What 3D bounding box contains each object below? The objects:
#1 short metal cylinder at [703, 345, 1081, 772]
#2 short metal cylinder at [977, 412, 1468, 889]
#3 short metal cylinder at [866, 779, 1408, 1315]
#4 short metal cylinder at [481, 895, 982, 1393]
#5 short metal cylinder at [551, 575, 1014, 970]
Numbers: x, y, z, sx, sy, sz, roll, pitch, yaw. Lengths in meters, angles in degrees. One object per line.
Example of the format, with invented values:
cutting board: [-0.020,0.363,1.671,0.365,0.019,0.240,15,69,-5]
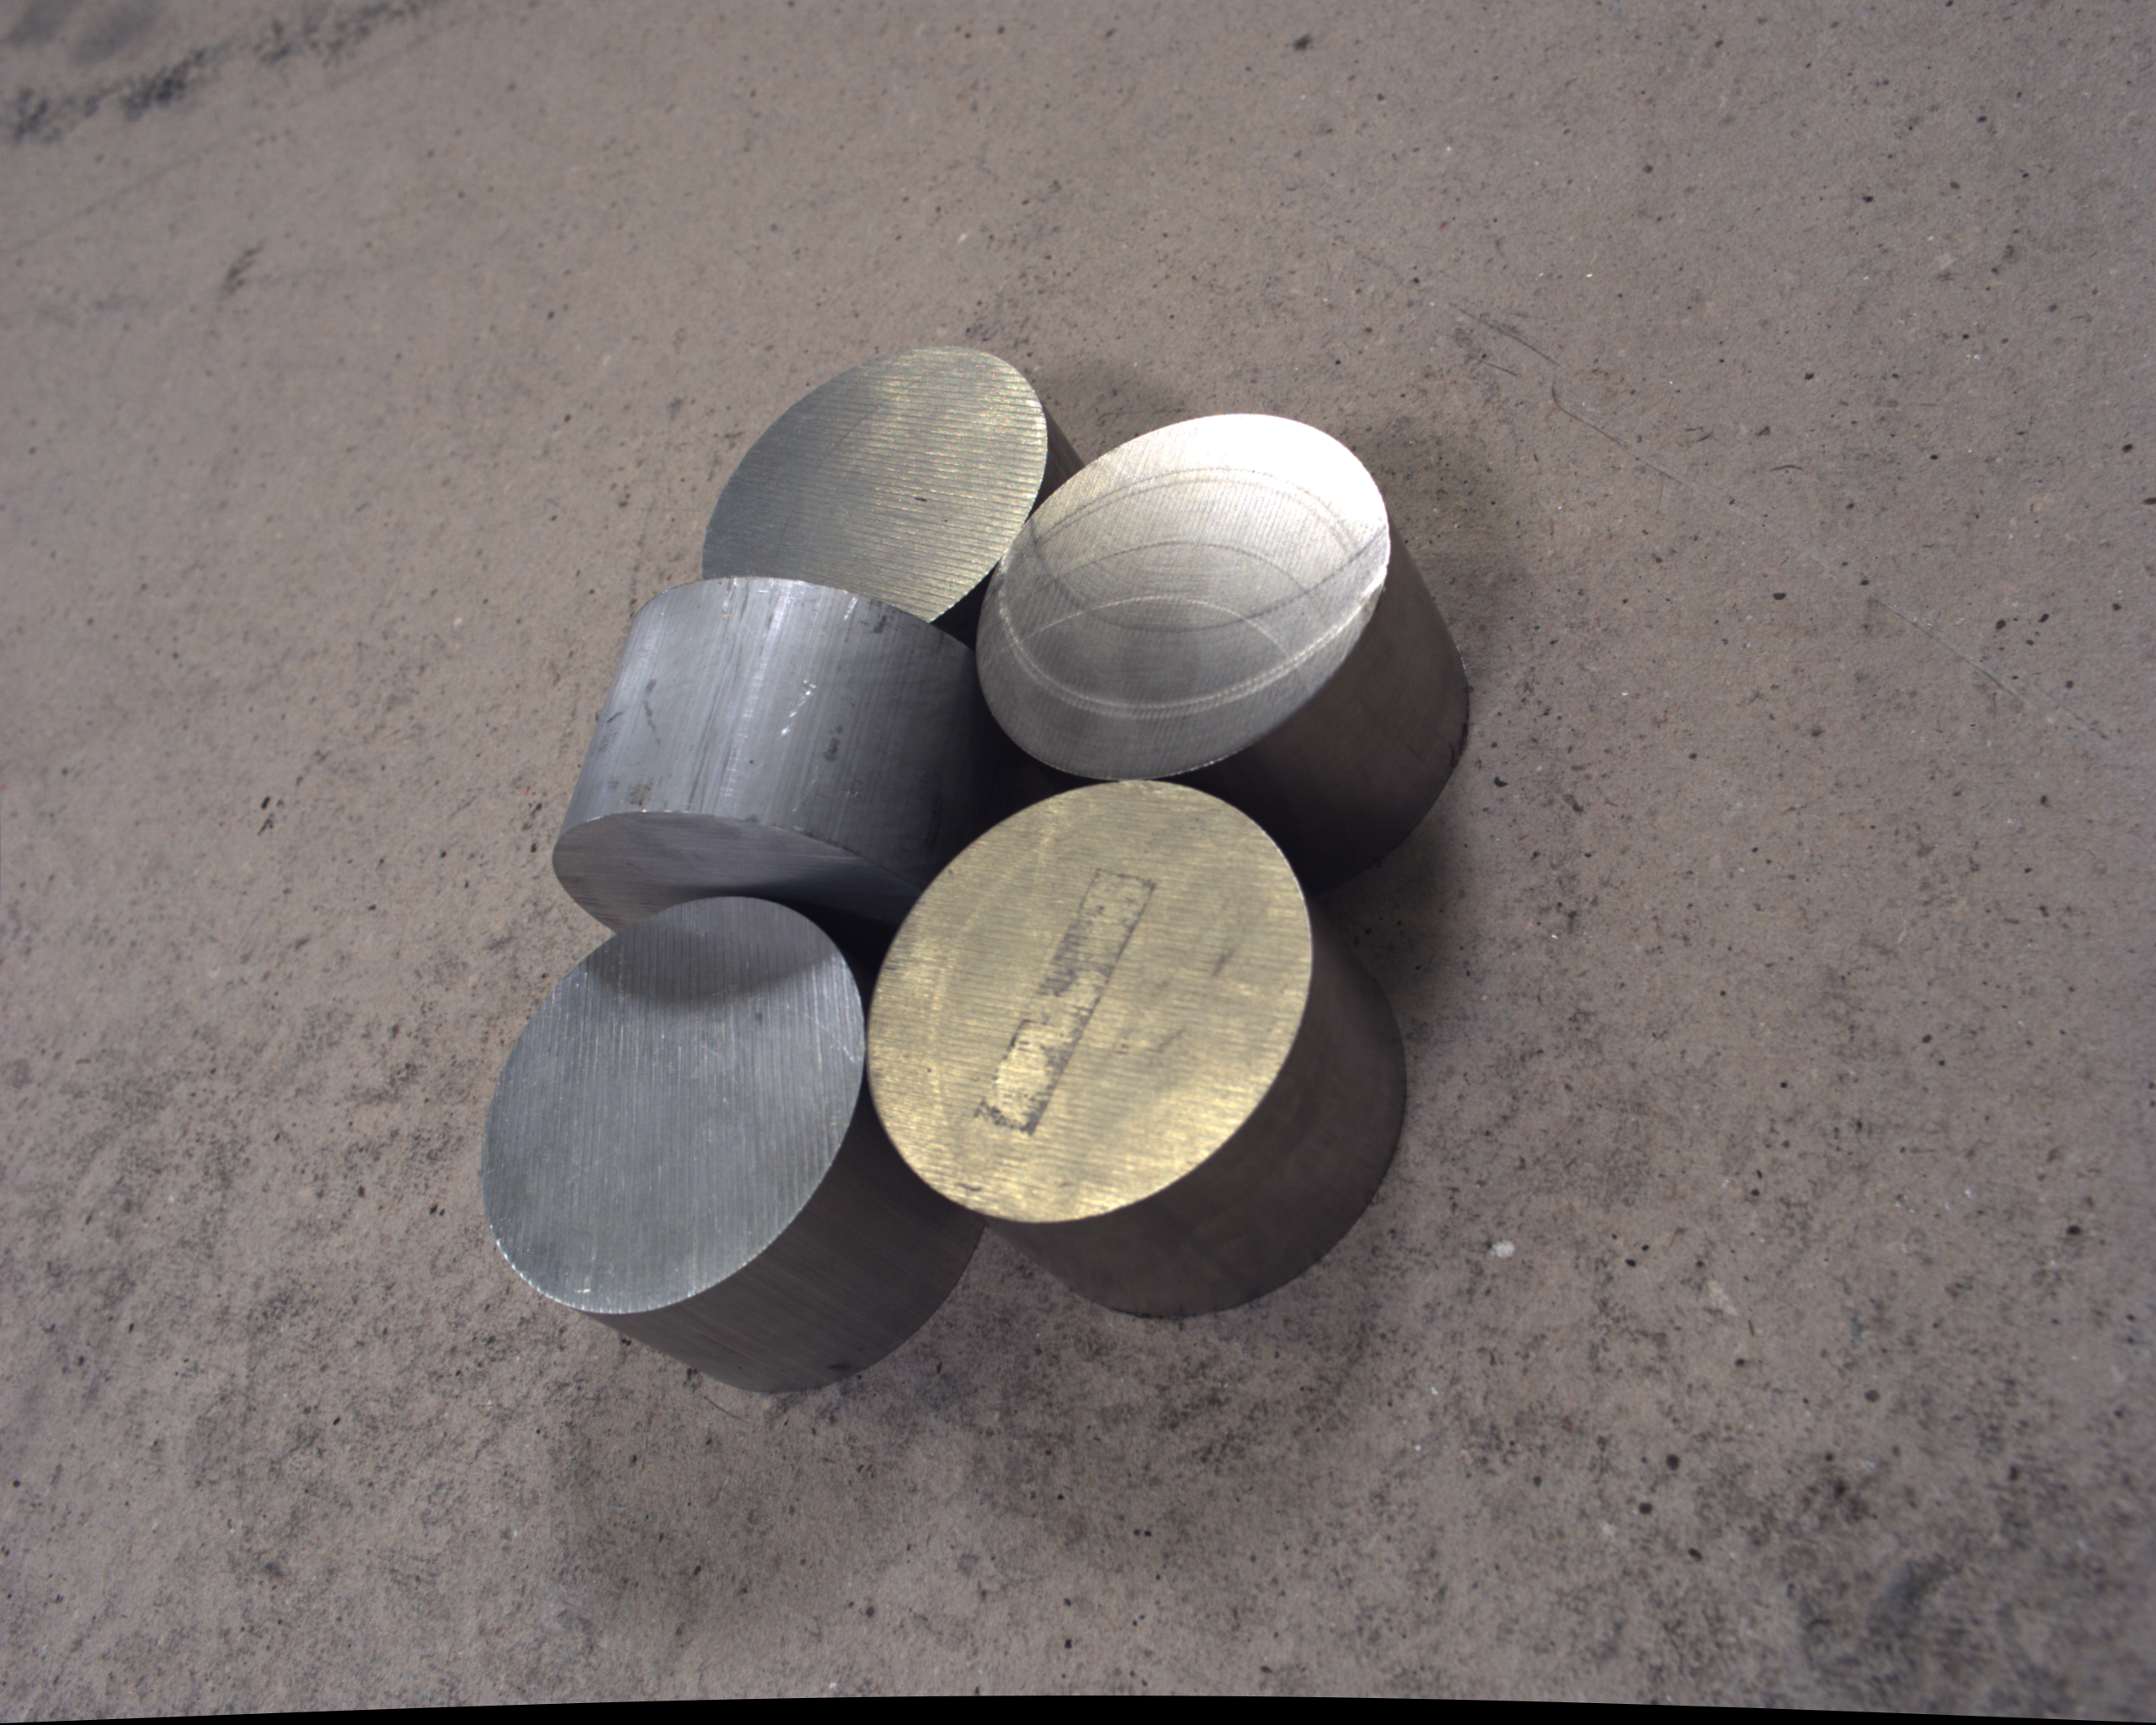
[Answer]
short metal cylinder: [-0.032,-0.062,0.444,0.080,0.050,0.080,-14,56,21]
short metal cylinder: [0.028,-0.038,0.397,0.080,0.050,0.080,-13,57,21]
short metal cylinder: [0.011,0.032,0.363,0.080,0.050,0.080,-14,56,22]
short metal cylinder: [-0.062,0.053,0.390,0.080,0.050,0.080,-14,56,21]
short metal cylinder: [-0.056,-0.012,0.407,0.080,0.080,0.050,-3,61,27]
